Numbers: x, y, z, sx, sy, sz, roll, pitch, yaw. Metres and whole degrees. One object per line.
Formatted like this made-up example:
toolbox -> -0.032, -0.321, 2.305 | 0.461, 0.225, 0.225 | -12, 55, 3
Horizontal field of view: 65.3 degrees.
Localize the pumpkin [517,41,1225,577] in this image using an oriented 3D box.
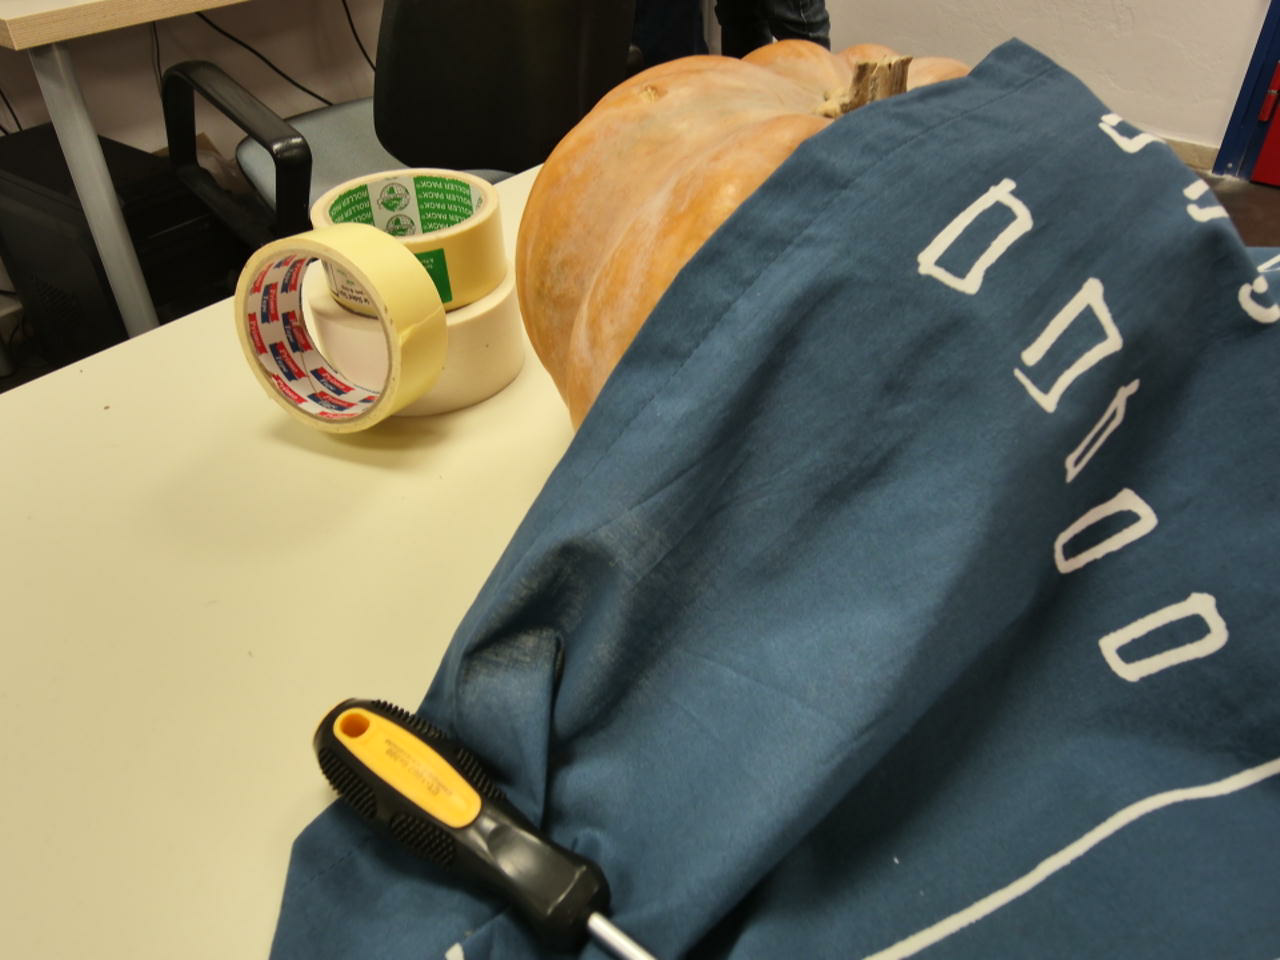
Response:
pumpkin -> 0.081, -0.078, 0.411 | 0.277, 0.181, 0.277 | 0, 37, 0
